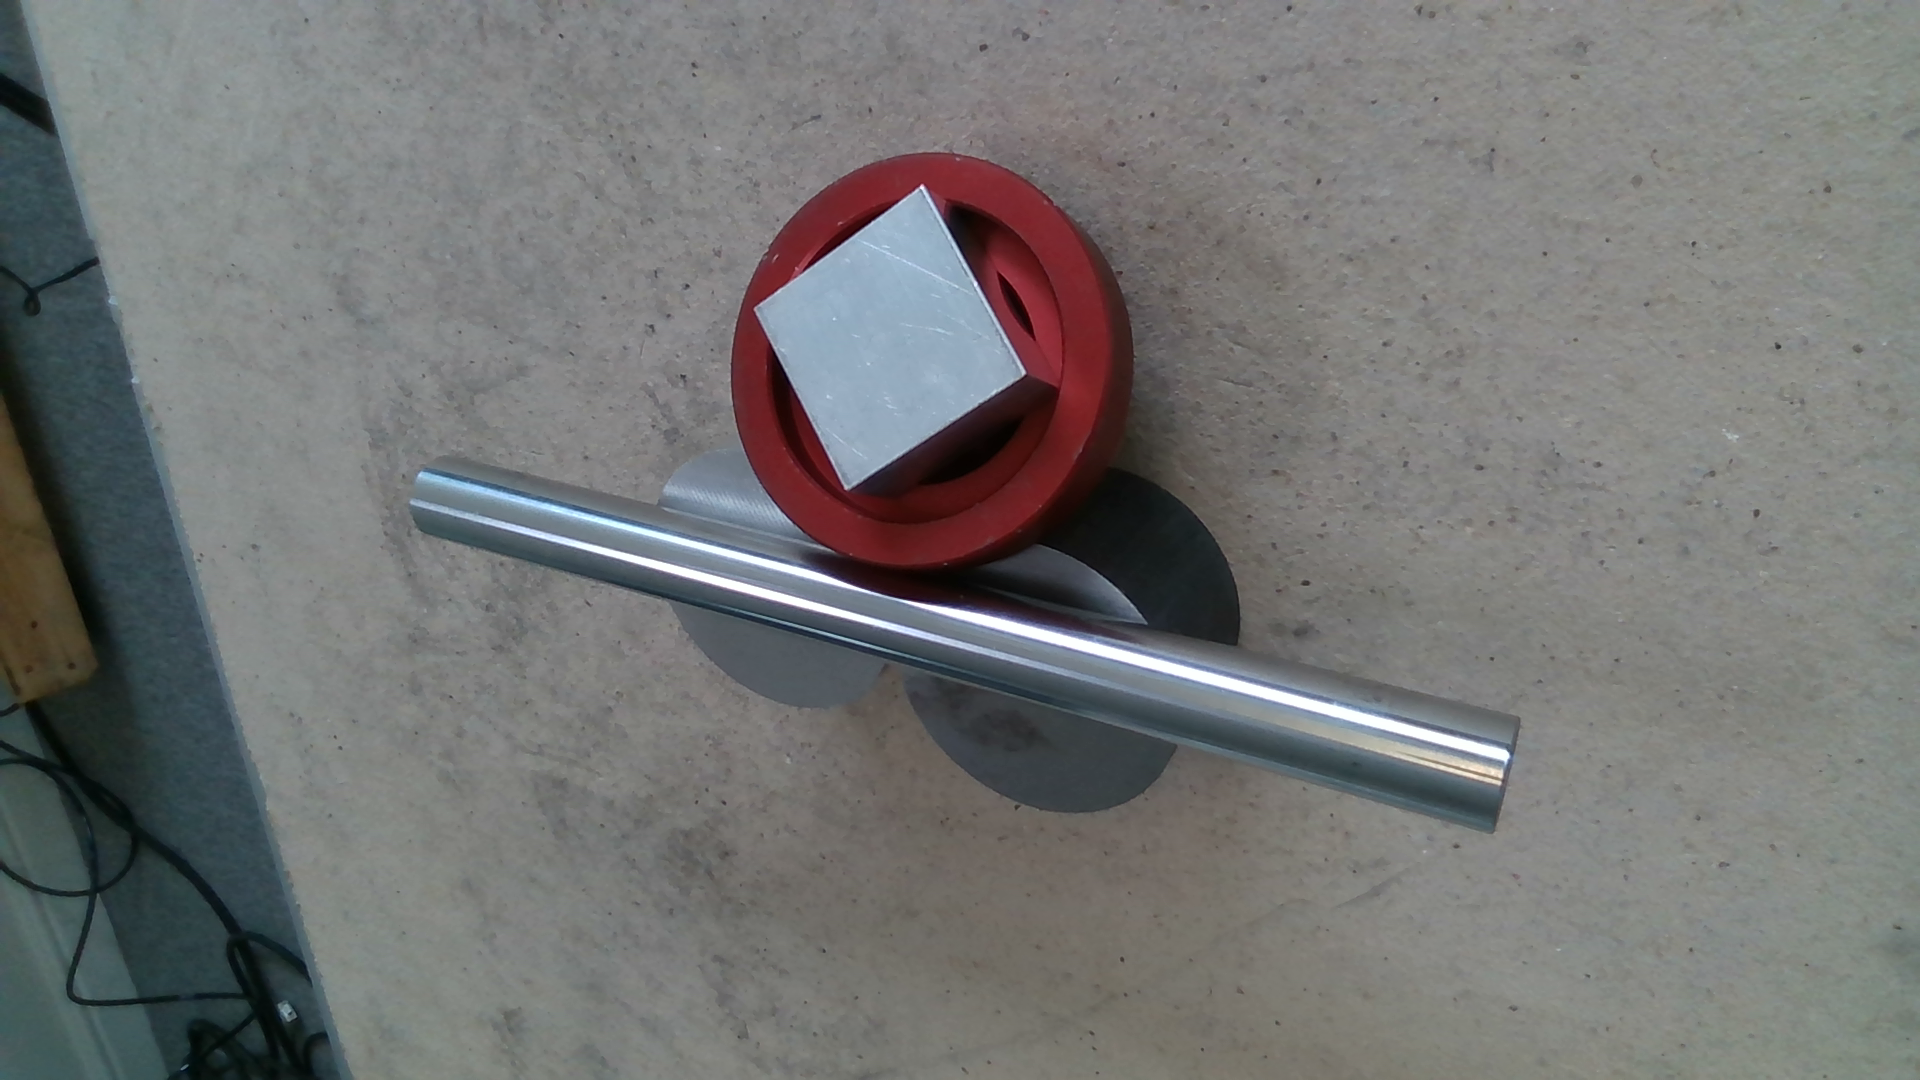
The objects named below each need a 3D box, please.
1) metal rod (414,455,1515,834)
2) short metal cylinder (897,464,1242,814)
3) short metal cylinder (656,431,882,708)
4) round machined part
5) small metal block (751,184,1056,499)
[{"bbox_3d":[-0.021,0.018,0.347,0.300,0.025,0.025,13,121,25],"label":"metal rod"},{"bbox_3d":[0.029,0.026,0.369,0.080,0.050,0.080,14,122,25],"label":"short metal cylinder"},{"bbox_3d":[-0.042,0.001,0.399,0.080,0.050,0.080,14,122,24],"label":"short metal cylinder"},{"bbox_3d":[-0.004,-0.042,0.341,0.098,0.042,0.098,-1,87,22],"label":"round machined part"},{"bbox_3d":[-0.013,-0.045,0.320,0.050,0.025,0.050,-31,77,18],"label":"small metal block"}]
